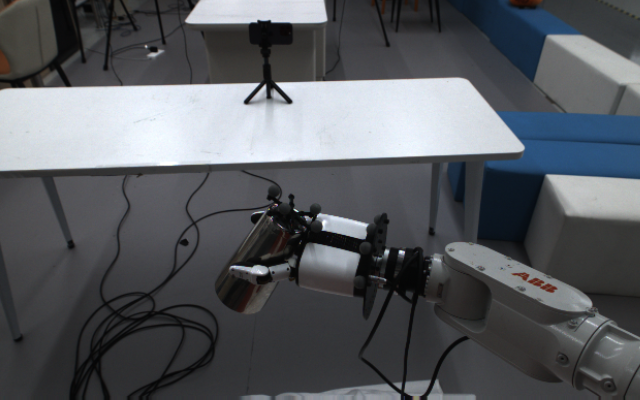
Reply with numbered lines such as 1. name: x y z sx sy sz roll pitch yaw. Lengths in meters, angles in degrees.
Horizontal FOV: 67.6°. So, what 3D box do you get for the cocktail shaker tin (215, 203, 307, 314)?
1. cocktail shaker tin: -0.087 0.081 0.746 0.093 0.170 0.093 26 32 -18
